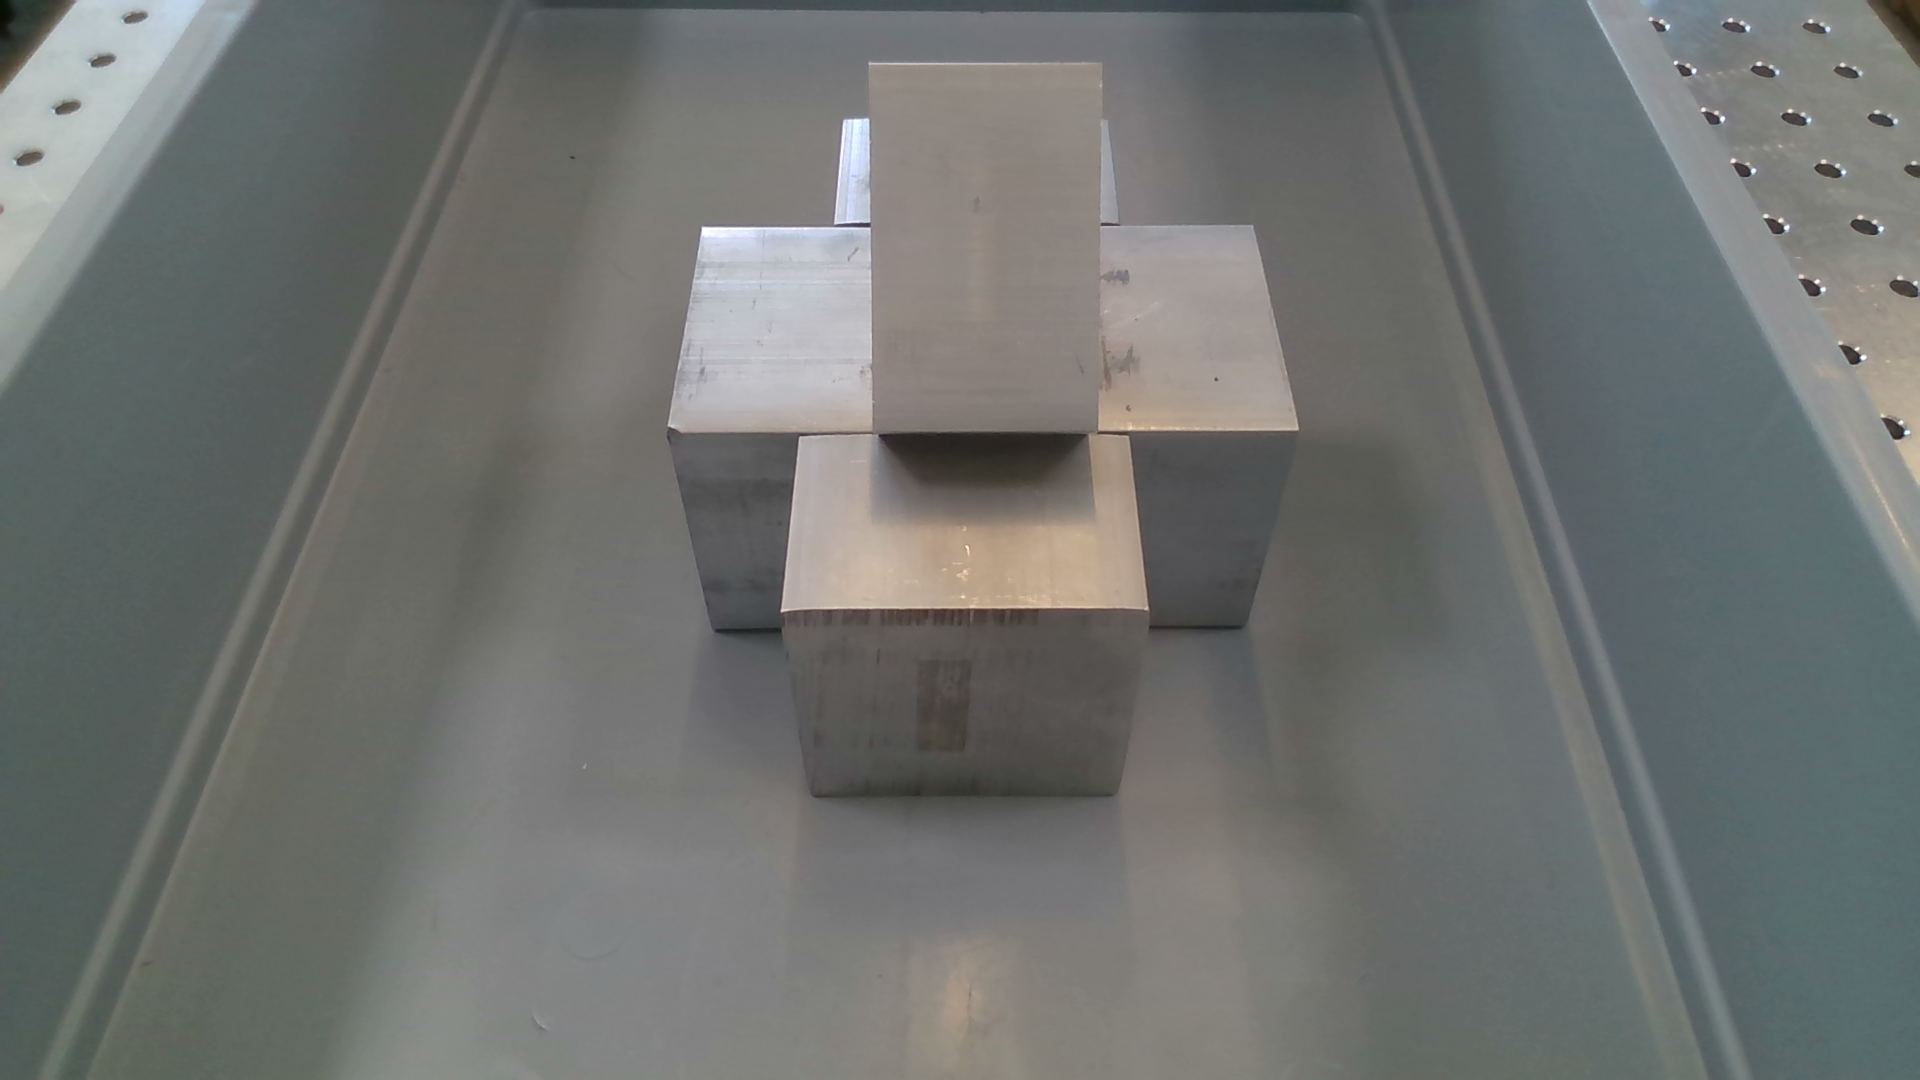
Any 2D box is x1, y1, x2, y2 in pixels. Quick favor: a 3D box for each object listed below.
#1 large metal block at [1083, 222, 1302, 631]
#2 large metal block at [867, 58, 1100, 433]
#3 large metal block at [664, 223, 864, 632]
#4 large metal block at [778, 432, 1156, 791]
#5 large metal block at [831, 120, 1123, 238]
[{"bbox_3d":[0.056,-0.031,0.383,0.050,0.080,0.080,0,50,0],"label":"large metal block"},{"bbox_3d":[0.005,-0.067,0.339,0.050,0.080,0.080,0,95,0],"label":"large metal block"},{"bbox_3d":[-0.045,-0.030,0.382,0.050,0.080,0.080,0,50,0],"label":"large metal block"},{"bbox_3d":[0.001,0.020,0.338,0.080,0.080,0.050,0,51,0],"label":"large metal block"},{"bbox_3d":[0.005,-0.080,0.424,0.080,0.080,0.050,0,50,0],"label":"large metal block"}]
